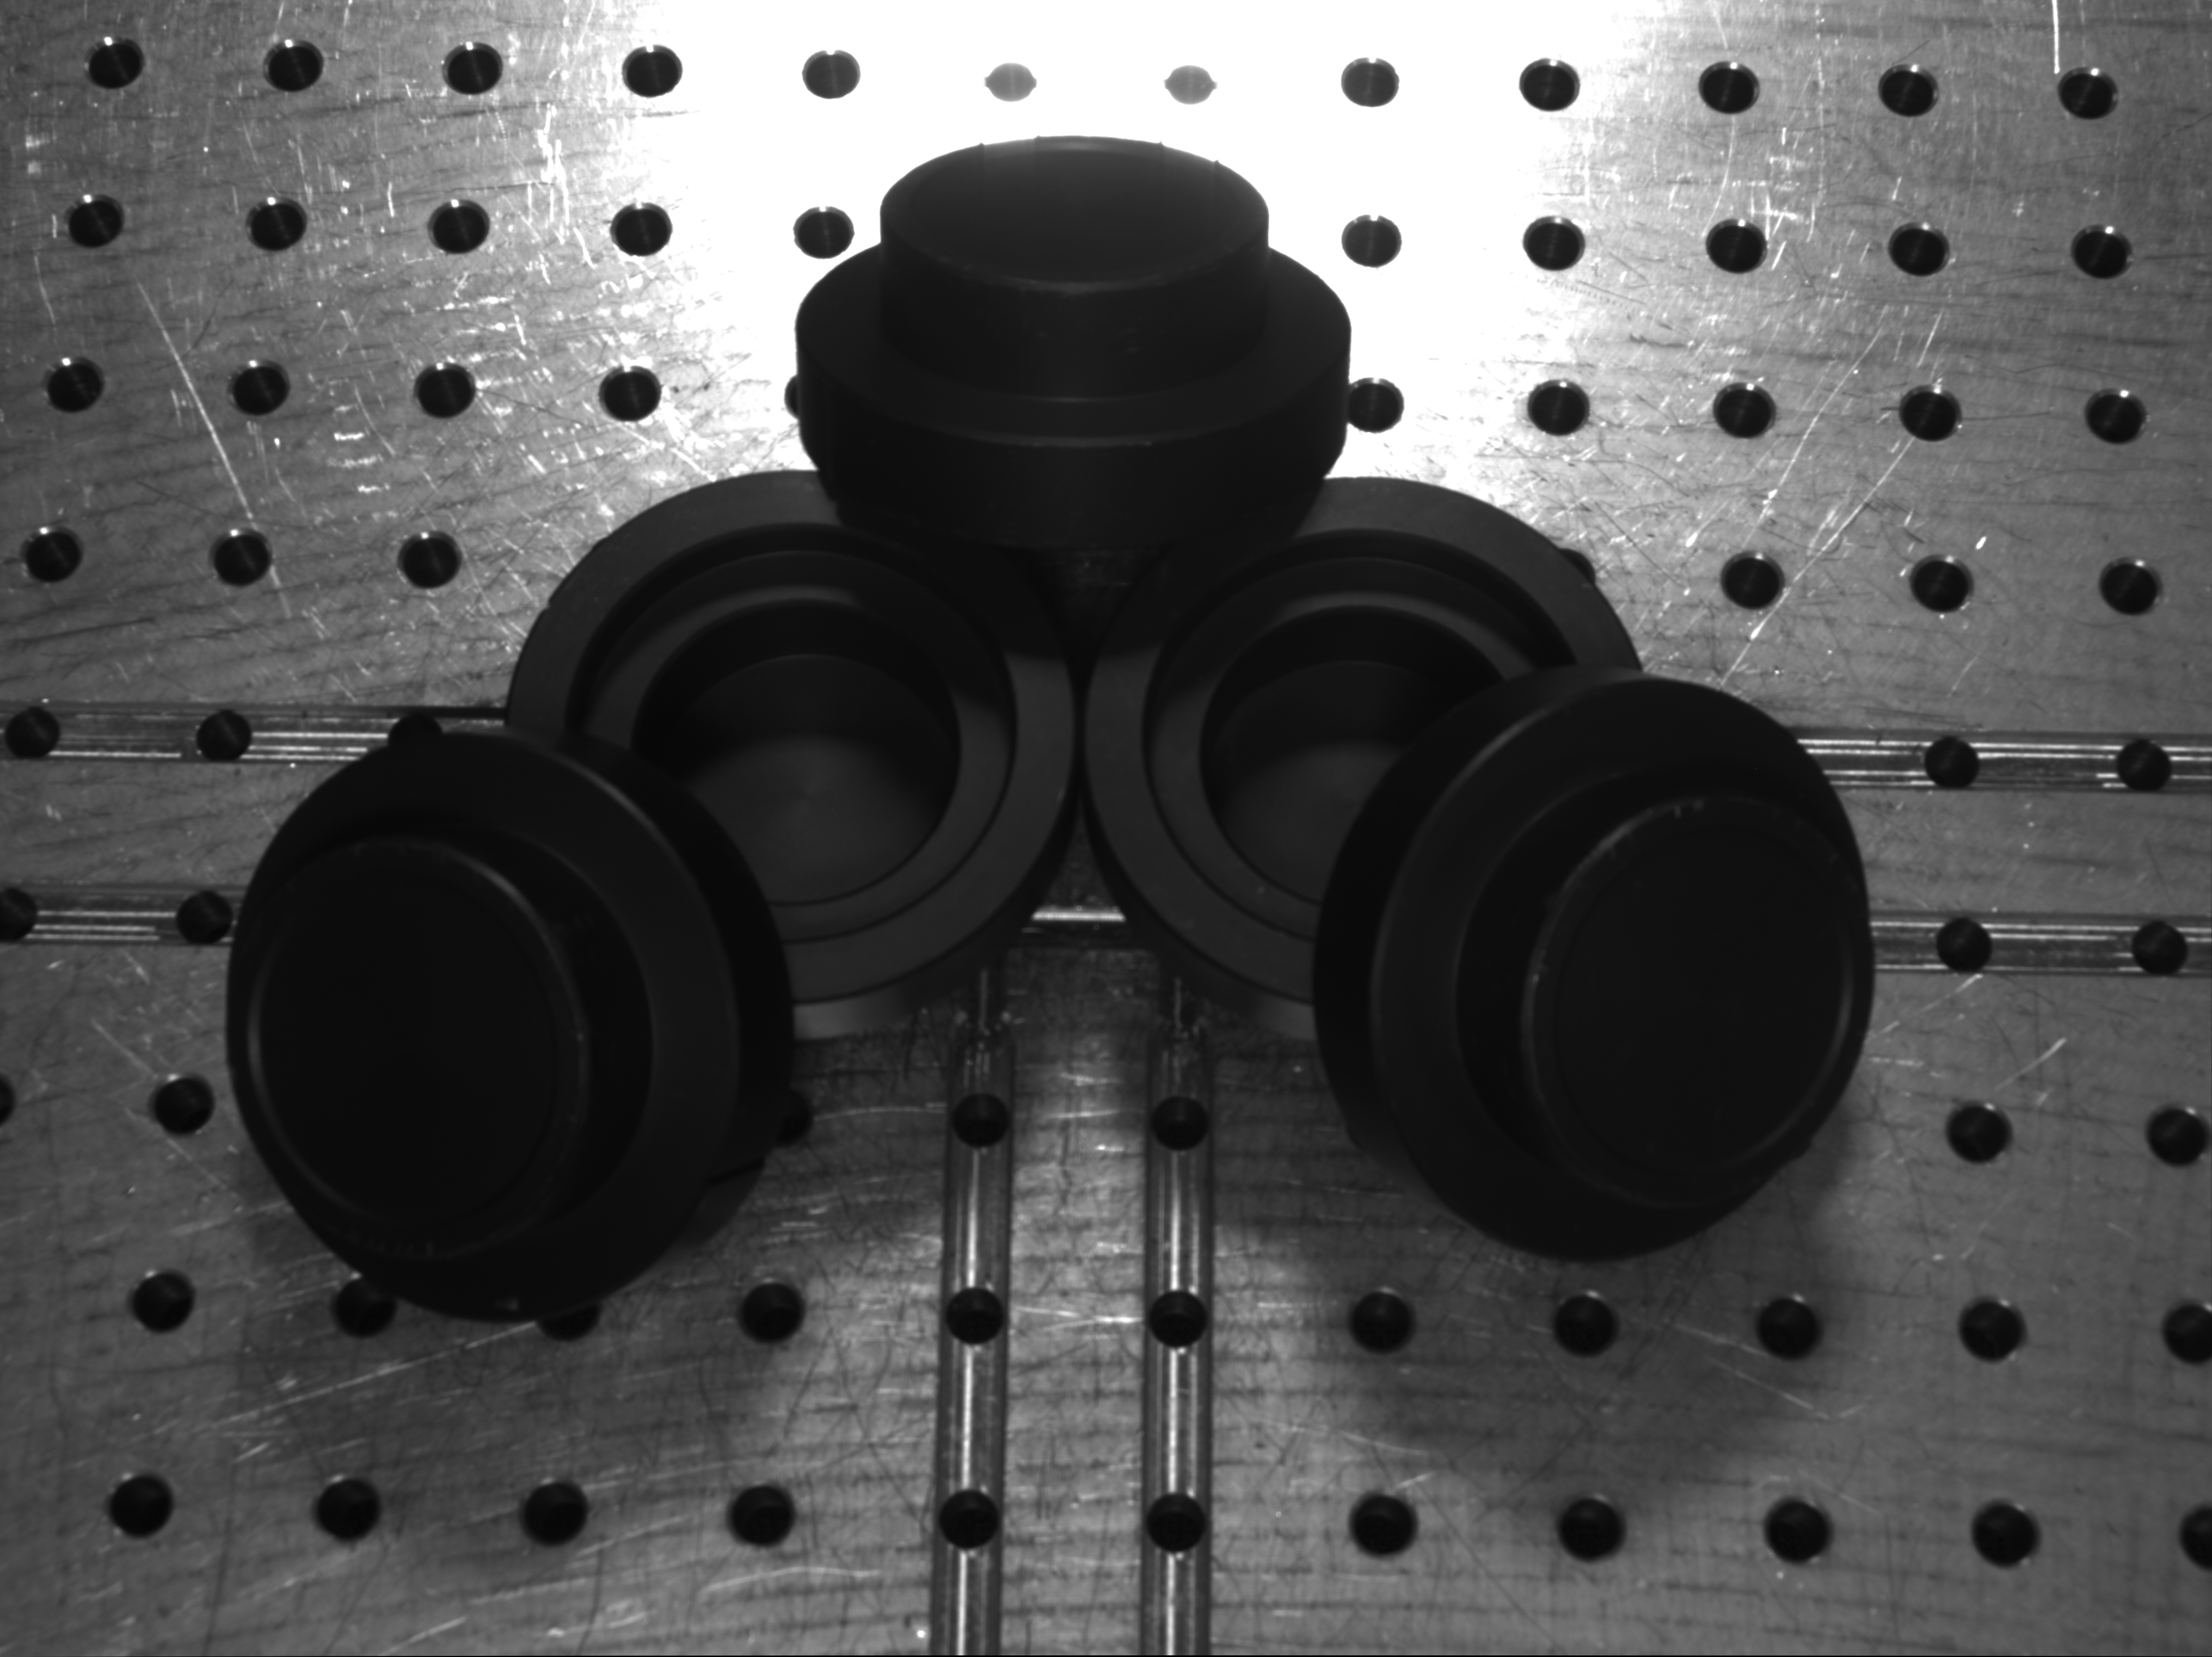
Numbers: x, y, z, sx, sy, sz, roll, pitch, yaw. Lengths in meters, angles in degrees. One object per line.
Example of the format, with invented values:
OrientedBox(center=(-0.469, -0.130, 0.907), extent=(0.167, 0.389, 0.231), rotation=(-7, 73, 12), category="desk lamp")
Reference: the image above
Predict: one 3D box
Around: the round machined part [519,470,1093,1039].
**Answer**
OrientedBox(center=(-0.051, -0.010, 0.641), extent=(0.098, 0.042, 0.098), rotation=(0, 70, 0), category="round machined part")

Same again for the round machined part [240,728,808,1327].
OrientedBox(center=(-0.102, 0.034, 0.601), extent=(0.098, 0.042, 0.098), rotation=(3, 97, 22), category="round machined part")

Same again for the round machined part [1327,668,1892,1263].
OrientedBox(center=(0.089, 0.024, 0.601), extent=(0.098, 0.042, 0.098), rotation=(-4, 100, -25), category="round machined part")

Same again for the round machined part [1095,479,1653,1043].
OrientedBox(center=(0.047, -0.008, 0.641), extent=(0.098, 0.042, 0.098), rotation=(0, 70, 0), category="round machined part")

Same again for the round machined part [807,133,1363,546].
OrientedBox(center=(-0.004, -0.090, 0.644), extent=(0.098, 0.042, 0.098), rotation=(0, 32, 0), category="round machined part")
